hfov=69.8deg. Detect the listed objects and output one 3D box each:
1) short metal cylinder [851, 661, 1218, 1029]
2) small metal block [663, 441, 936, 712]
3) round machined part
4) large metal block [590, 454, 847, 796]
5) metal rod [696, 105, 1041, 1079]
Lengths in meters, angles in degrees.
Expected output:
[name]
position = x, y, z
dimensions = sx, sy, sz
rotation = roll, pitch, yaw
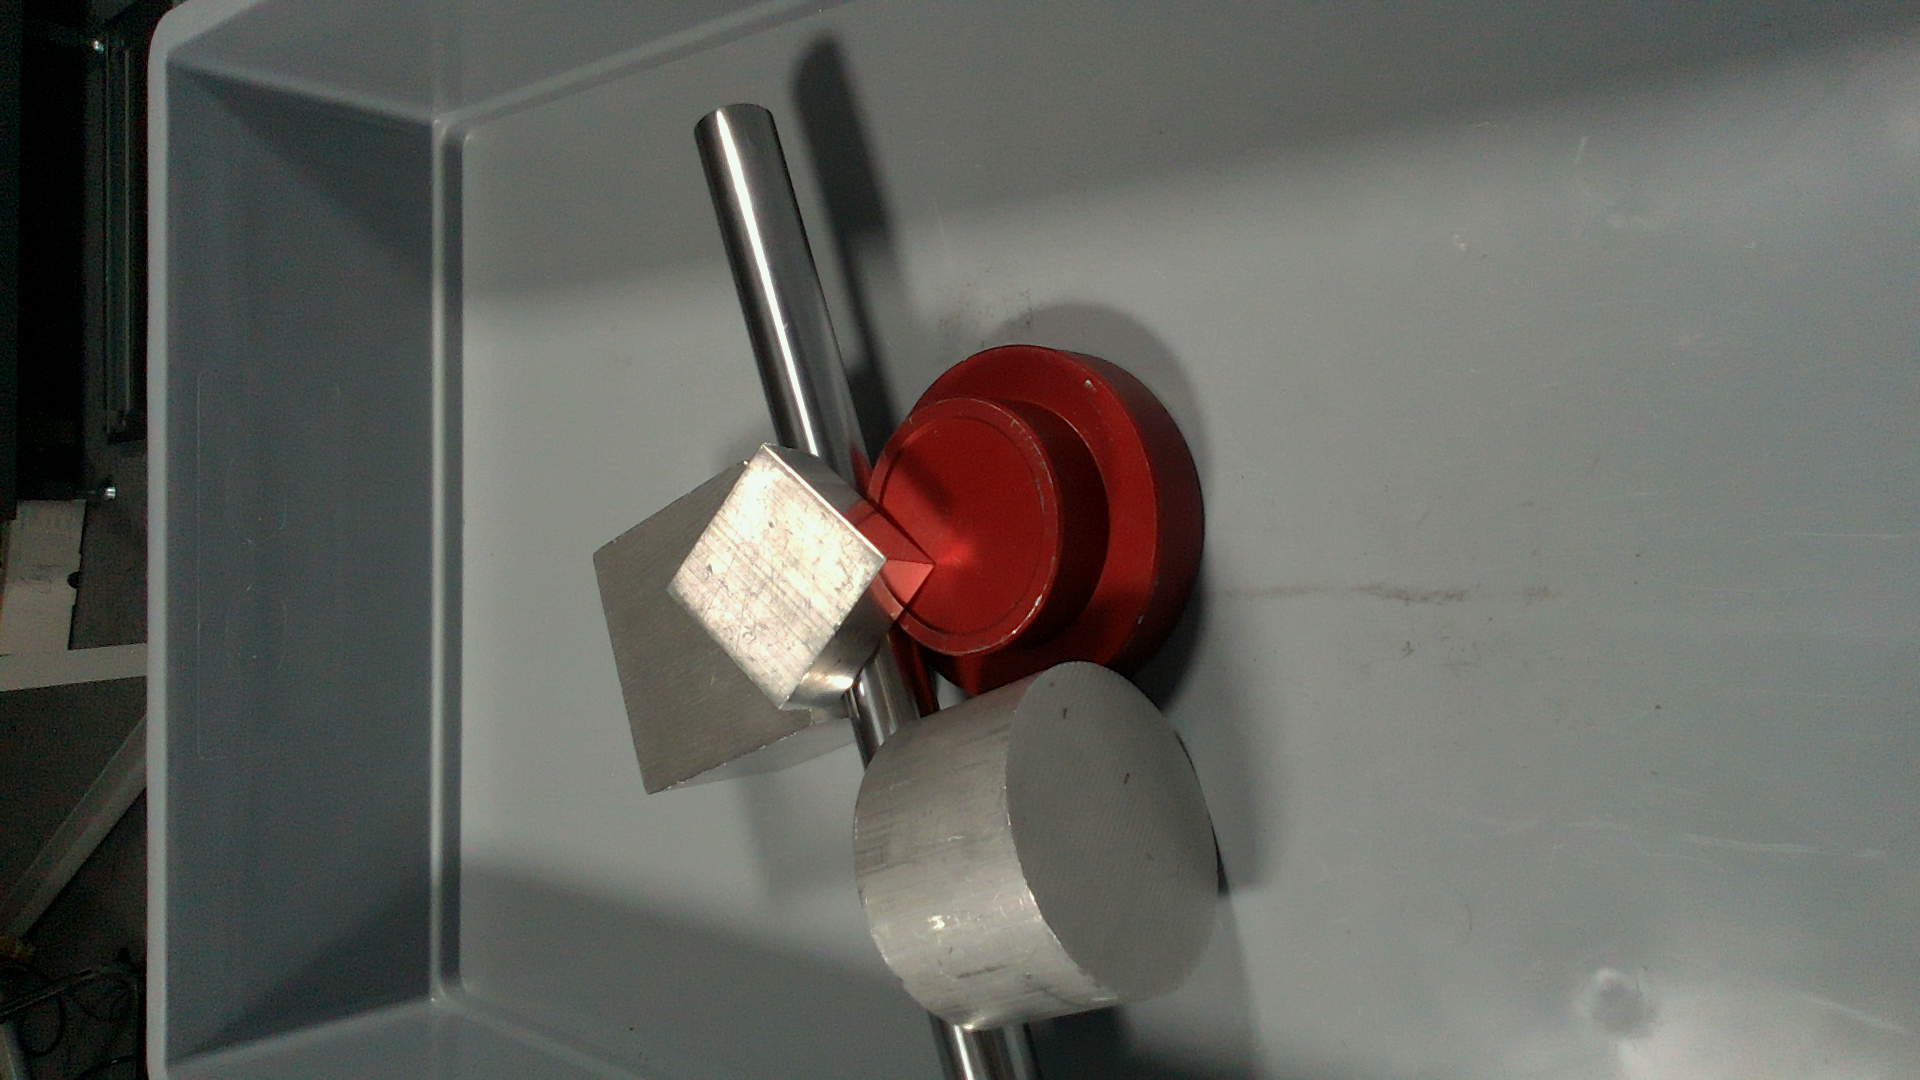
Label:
[short metal cylinder]
position = 0.020, 0.076, 0.341
dimensions = 0.050, 0.080, 0.080
rotation = -26, 73, 37
[small metal block]
position = -0.043, 0.010, 0.367
dimensions = 0.050, 0.025, 0.050
rotation = 42, 104, 24
[round machined part]
position = 0.012, -0.004, 0.371
dimensions = 0.098, 0.042, 0.098
rotation = 0, 90, 40
[large metal block]
position = -0.063, 0.027, 0.427
dimensions = 0.080, 0.050, 0.080
rotation = -26, 74, 37
[metal rod]
position = -0.028, 0.014, 0.390
dimensions = 0.025, 0.025, 0.300
rotation = -26, 74, 37
